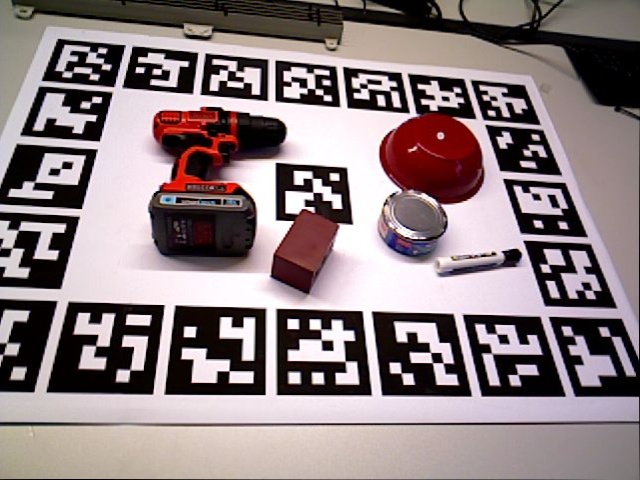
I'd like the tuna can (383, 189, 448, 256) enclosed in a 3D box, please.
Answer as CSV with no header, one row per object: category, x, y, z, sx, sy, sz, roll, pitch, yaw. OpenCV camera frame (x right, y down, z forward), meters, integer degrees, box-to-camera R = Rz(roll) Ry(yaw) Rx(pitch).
tuna can,0.124,-0.022,0.691,0.085,0.034,0.084,6,54,-9

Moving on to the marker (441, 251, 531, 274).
marker,0.210,0.028,0.680,0.119,0.020,0.019,-5,58,-15

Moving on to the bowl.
bowl,0.164,-0.124,0.771,0.160,0.056,0.159,3,48,-4

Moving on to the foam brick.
foam brick,-0.013,0.020,0.633,0.051,0.054,0.076,23,55,4

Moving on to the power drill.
power drill,-0.132,-0.079,0.675,0.182,0.059,0.184,3,52,-13
